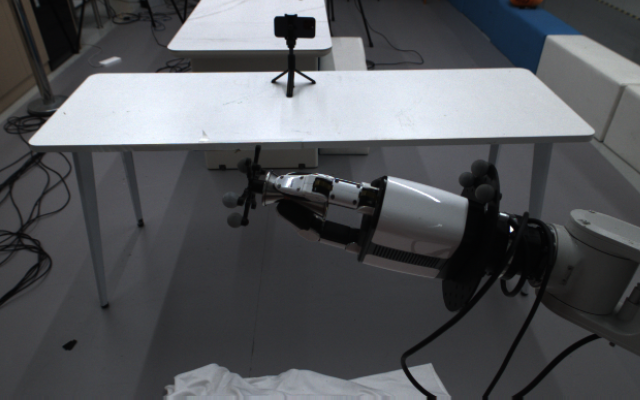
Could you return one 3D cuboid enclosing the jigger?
[{"bbox_3d":[-0.017,-0.010,0.517,0.071,0.043,0.043,11,35,3],"label":"jigger"}]
